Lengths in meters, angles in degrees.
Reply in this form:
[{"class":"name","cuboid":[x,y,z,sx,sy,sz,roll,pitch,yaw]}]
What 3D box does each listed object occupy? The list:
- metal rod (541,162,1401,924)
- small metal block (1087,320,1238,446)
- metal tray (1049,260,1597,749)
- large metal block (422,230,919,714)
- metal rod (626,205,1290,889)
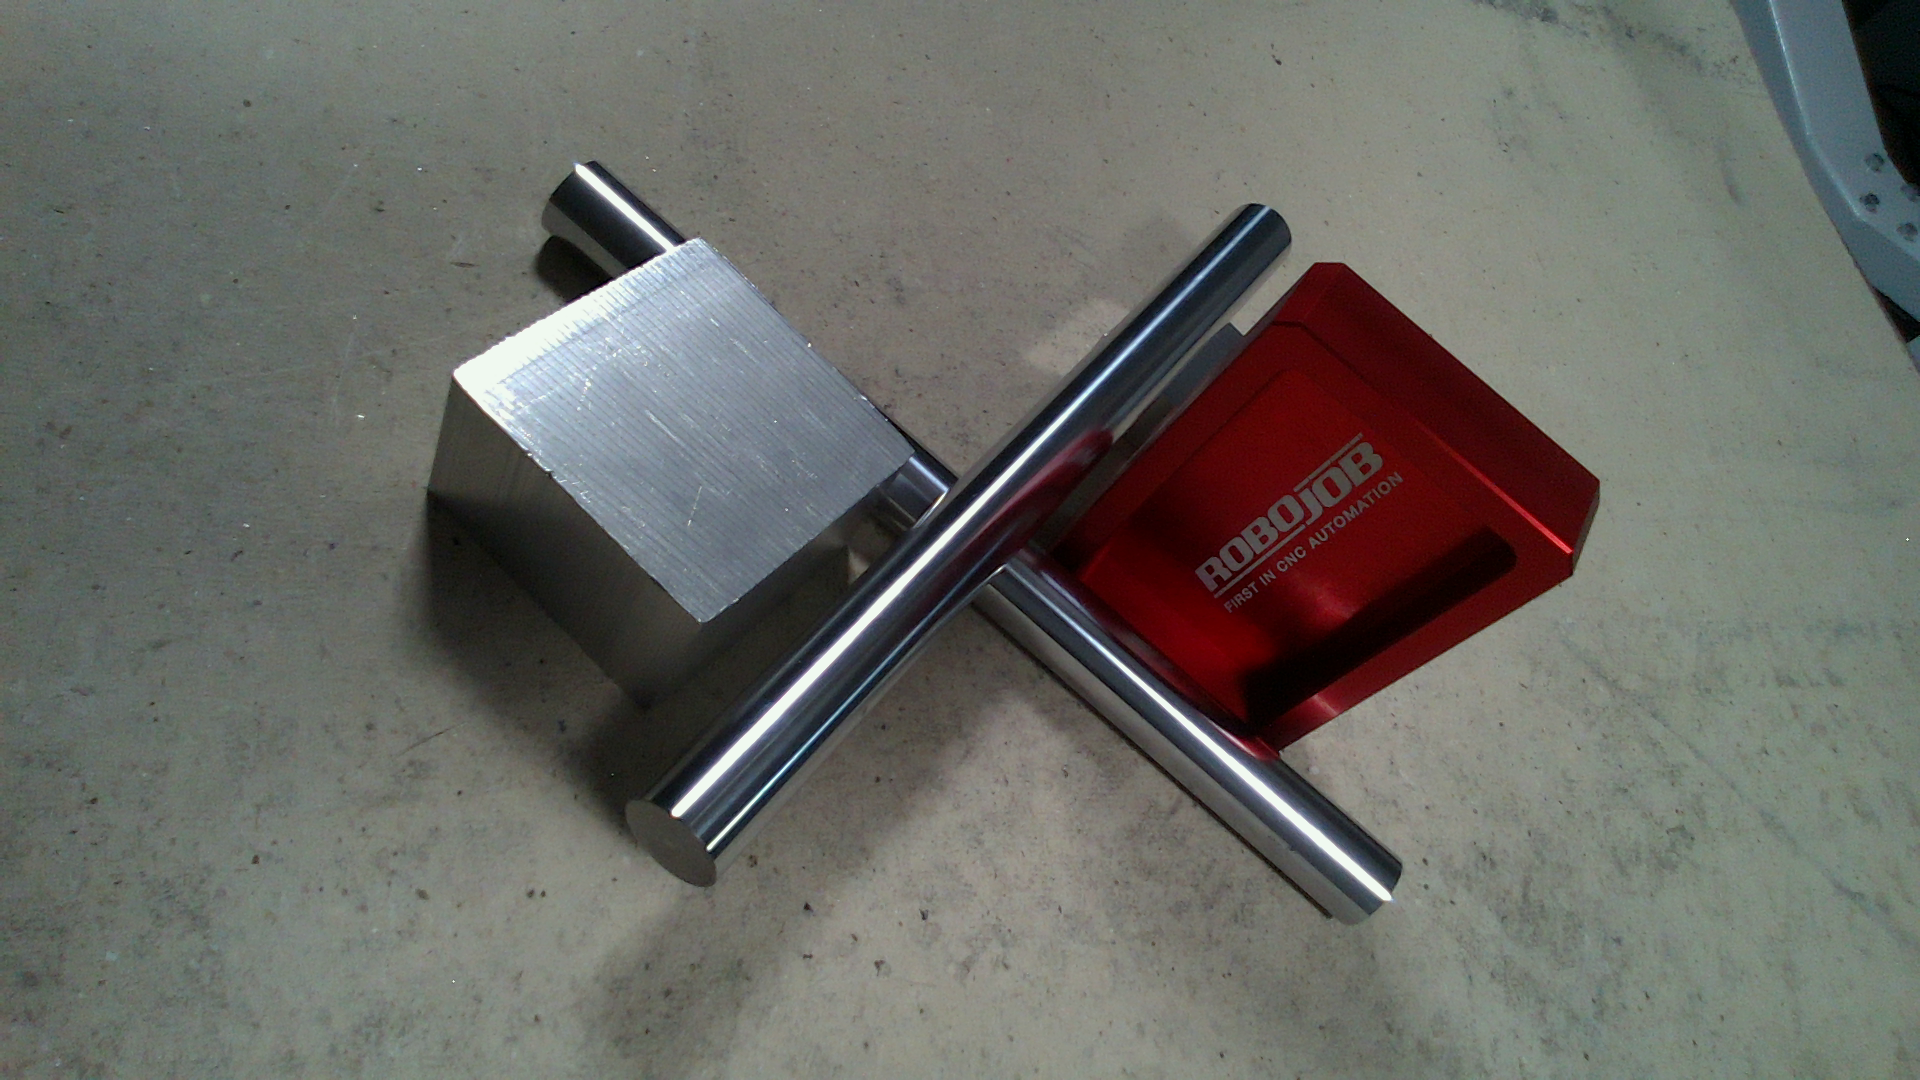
[{"class":"metal rod","cuboid":[0.003,0.001,0.391,0.300,0.025,0.025,41,51,0]},{"class":"small metal block","cuboid":[0.072,-0.055,0.462,0.050,0.025,0.050,46,51,4]},{"class":"metal tray","cuboid":[0.089,-0.002,0.370,0.090,0.130,0.030,40,52,0]},{"class":"large metal block","cuboid":[-0.072,-0.018,0.345,0.080,0.050,0.080,45,51,3]},{"class":"metal rod","cuboid":[0.021,-0.020,0.381,0.025,0.025,0.301,43,51,2]}]
